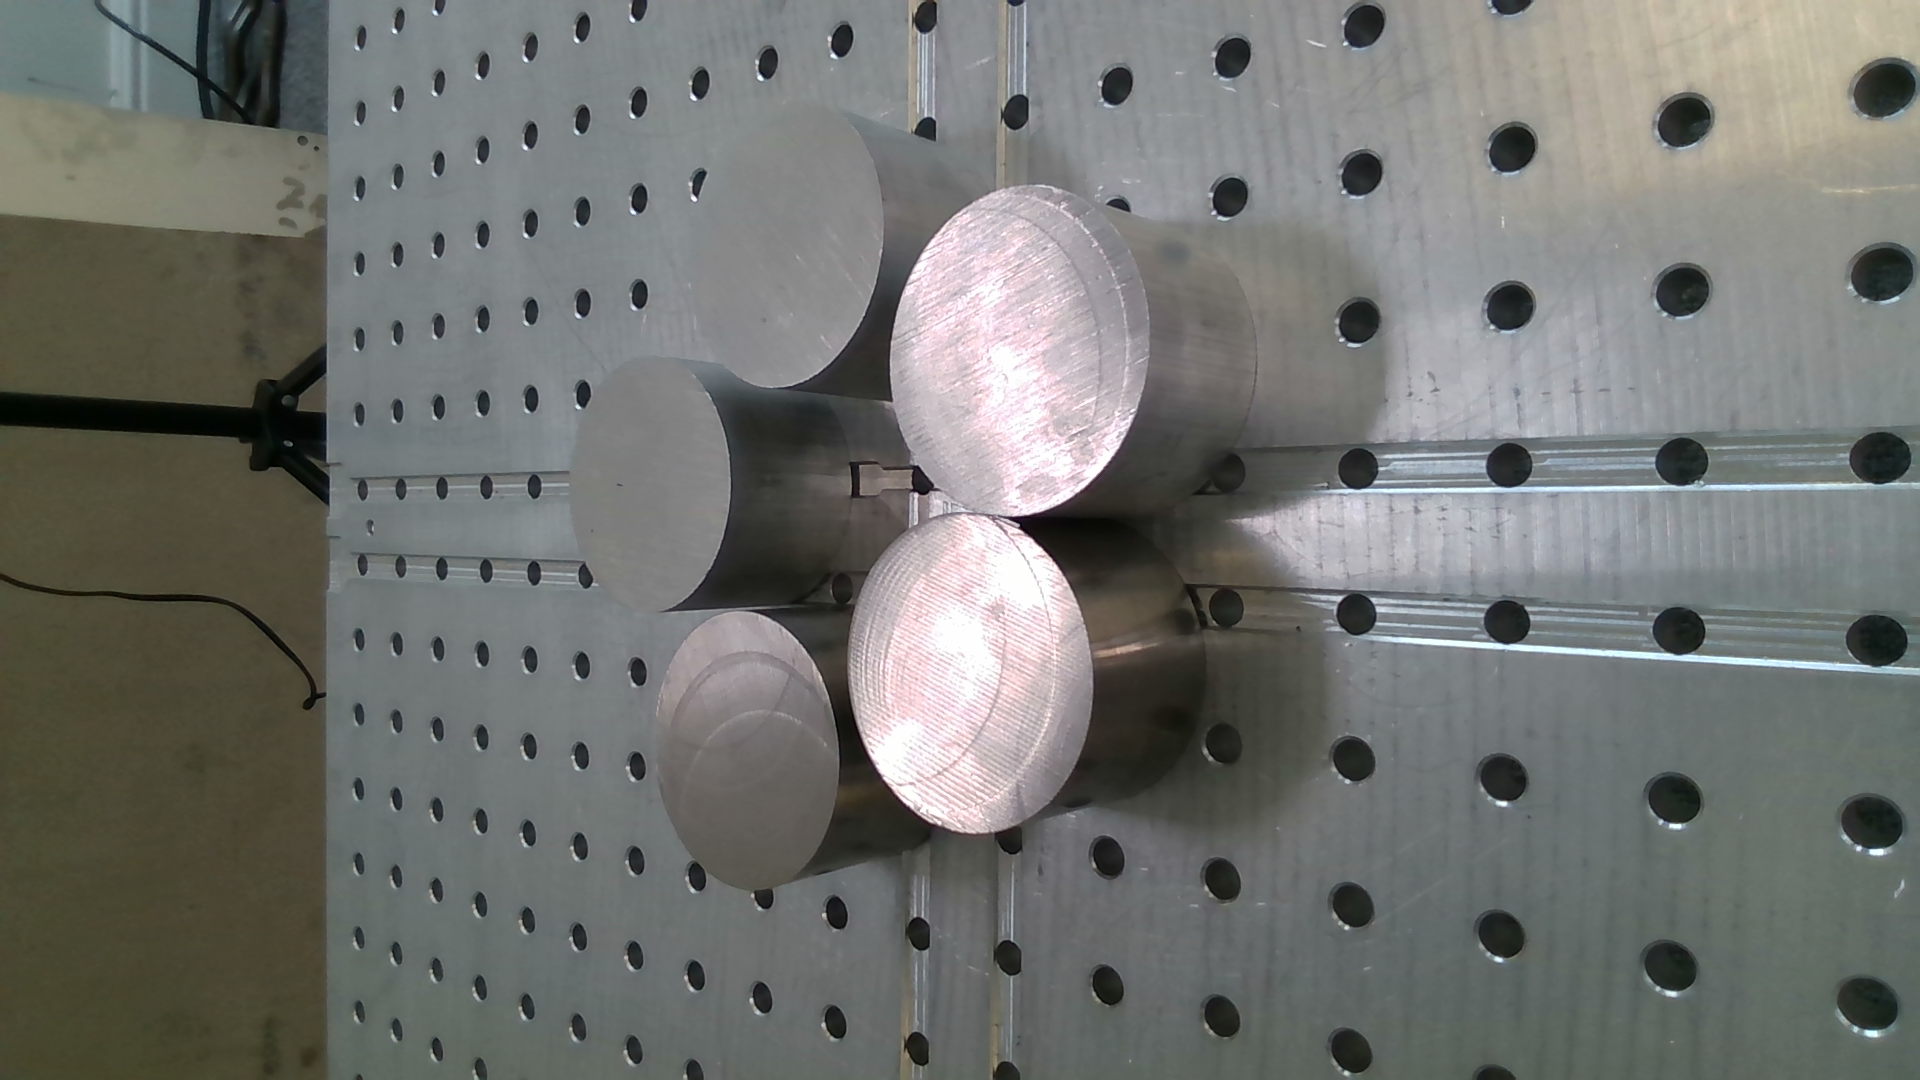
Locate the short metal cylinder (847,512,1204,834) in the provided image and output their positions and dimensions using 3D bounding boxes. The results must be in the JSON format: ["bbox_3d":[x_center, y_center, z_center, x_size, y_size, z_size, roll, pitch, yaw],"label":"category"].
[{"bbox_3d":[0.016,0.033,0.362,0.080,0.050,0.080,0,90,40],"label":"short metal cylinder"}]

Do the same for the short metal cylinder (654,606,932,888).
[{"bbox_3d":[-0.048,0.060,0.417,0.080,0.050,0.080,1,91,41],"label":"short metal cylinder"}]

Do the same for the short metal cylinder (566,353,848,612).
[{"bbox_3d":[-0.082,-0.017,0.445,0.080,0.050,0.080,0,89,40],"label":"short metal cylinder"}]

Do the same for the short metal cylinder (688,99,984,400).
[{"bbox_3d":[-0.035,-0.083,0.405,0.080,0.050,0.080,0,91,40],"label":"short metal cylinder"}]

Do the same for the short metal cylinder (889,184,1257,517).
[{"bbox_3d":[0.028,-0.046,0.353,0.080,0.050,0.080,1,91,40],"label":"short metal cylinder"}]
